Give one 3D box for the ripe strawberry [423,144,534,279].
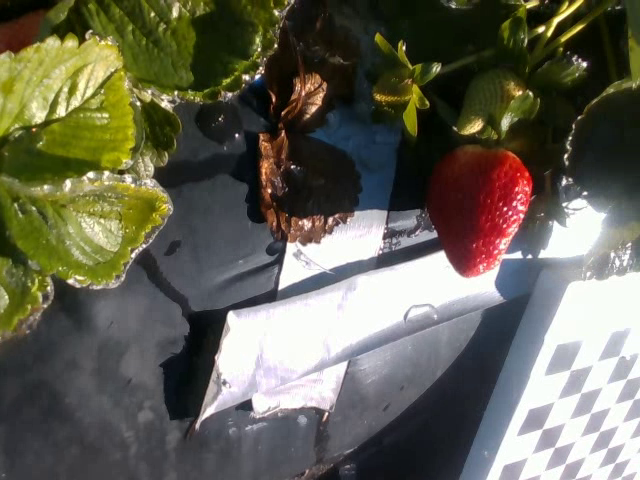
[{"bbox_3d":[0.081,-0.007,0.309,0.057,0.065,0.061,-13,-32,37],"label":"ripe strawberry"}]
